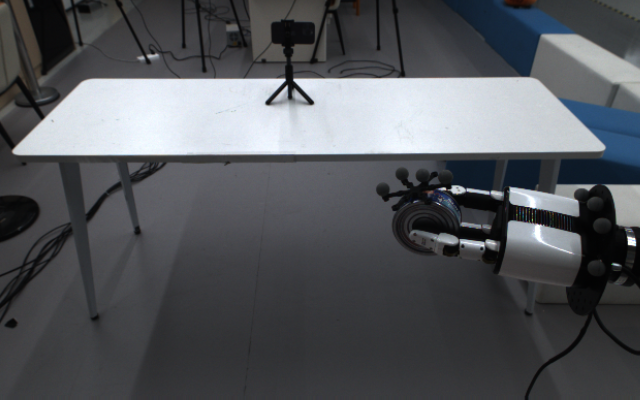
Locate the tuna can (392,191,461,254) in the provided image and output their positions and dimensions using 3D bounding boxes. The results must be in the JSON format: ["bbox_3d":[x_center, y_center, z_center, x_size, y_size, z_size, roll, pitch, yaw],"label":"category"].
[{"bbox_3d":[0.140,0.035,0.617,0.085,0.085,0.034,11,34,13],"label":"tuna can"}]
